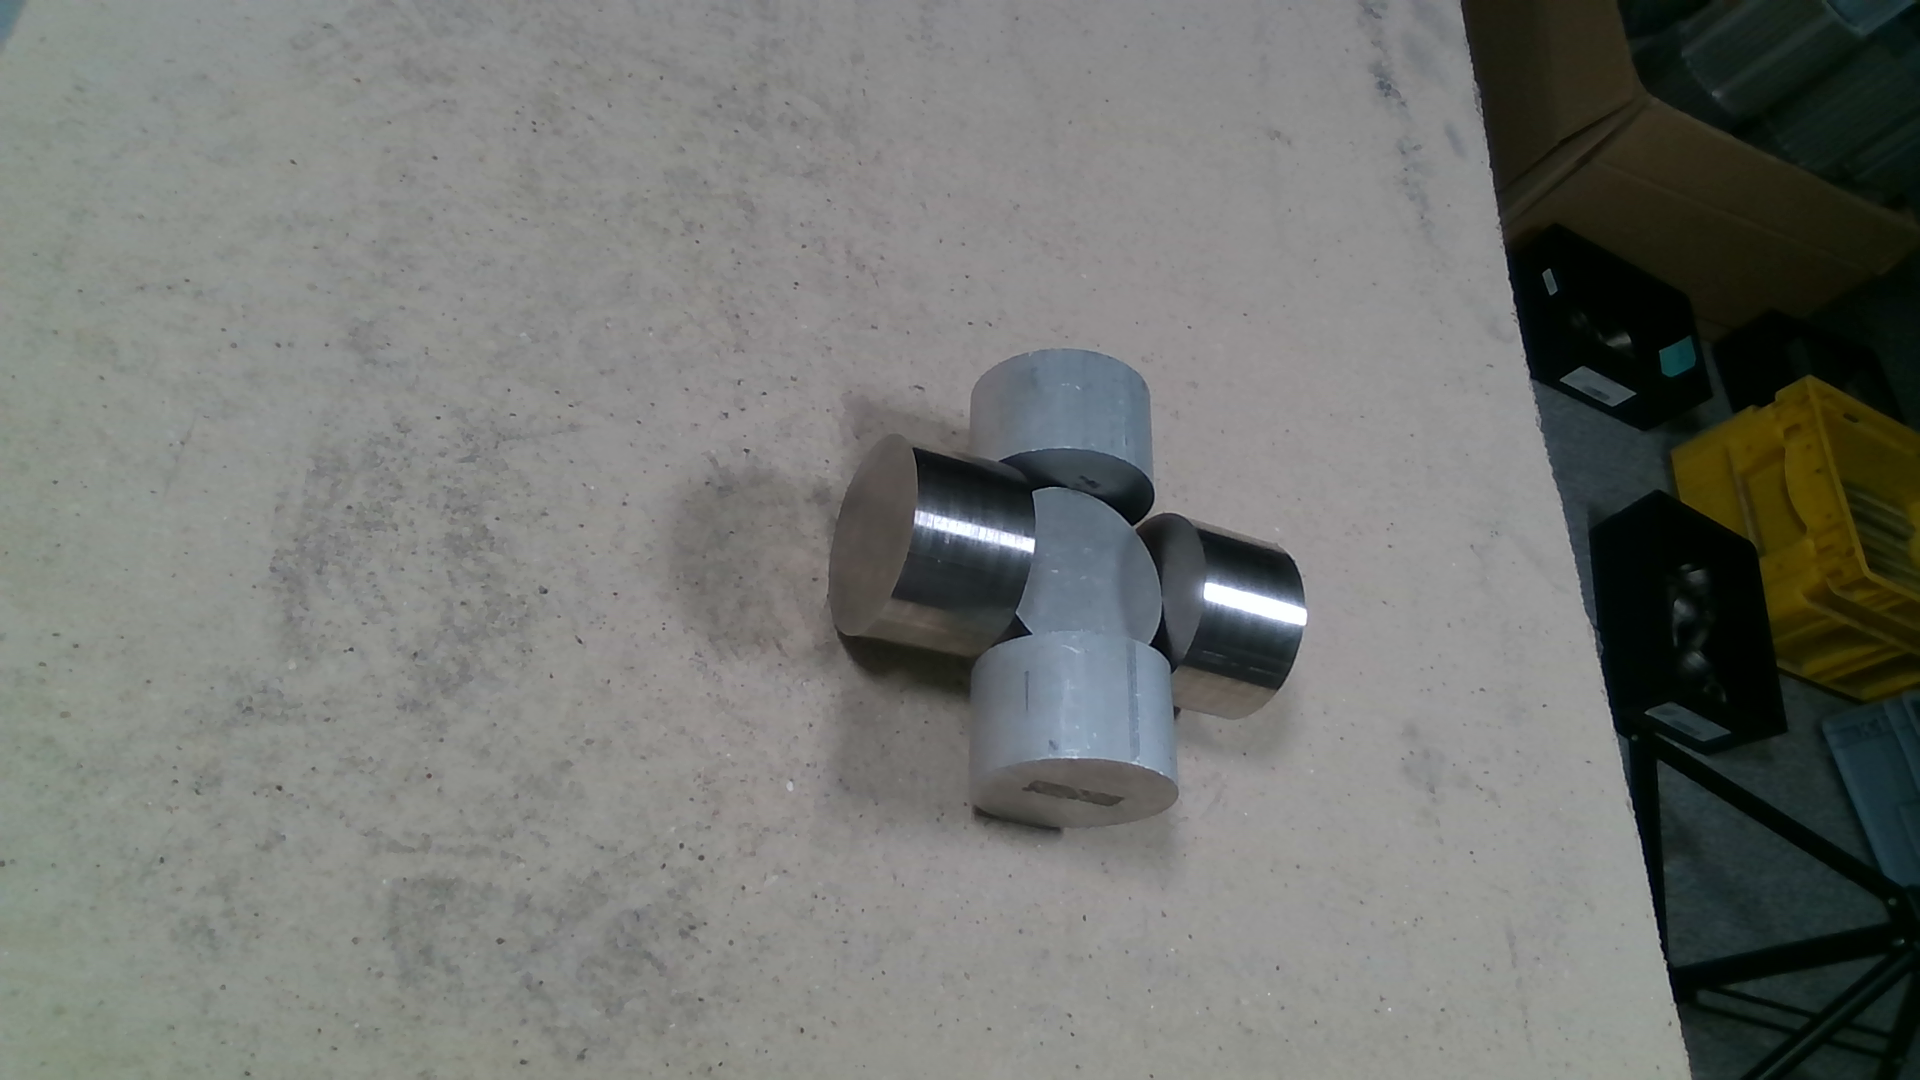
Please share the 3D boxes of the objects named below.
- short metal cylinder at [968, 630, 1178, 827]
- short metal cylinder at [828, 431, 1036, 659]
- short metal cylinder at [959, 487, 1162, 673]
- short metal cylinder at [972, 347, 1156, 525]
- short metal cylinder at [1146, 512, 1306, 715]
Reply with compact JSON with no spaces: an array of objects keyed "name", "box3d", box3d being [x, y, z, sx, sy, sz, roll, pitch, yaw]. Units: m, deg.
[{"name":"short metal cylinder","box3d":[0.044,0.075,0.537,0.080,0.080,0.050,16,58,-24]},{"name":"short metal cylinder","box3d":[-0.013,0.003,0.541,0.050,0.080,0.080,15,58,-25]},{"name":"short metal cylinder","box3d":[0.038,0.025,0.581,0.080,0.050,0.080,14,59,-25]},{"name":"short metal cylinder","box3d":[0.044,-0.039,0.599,0.080,0.080,0.050,16,58,-24]},{"name":"short metal cylinder","box3d":[0.103,0.033,0.596,0.050,0.080,0.080,15,58,-24]}]
